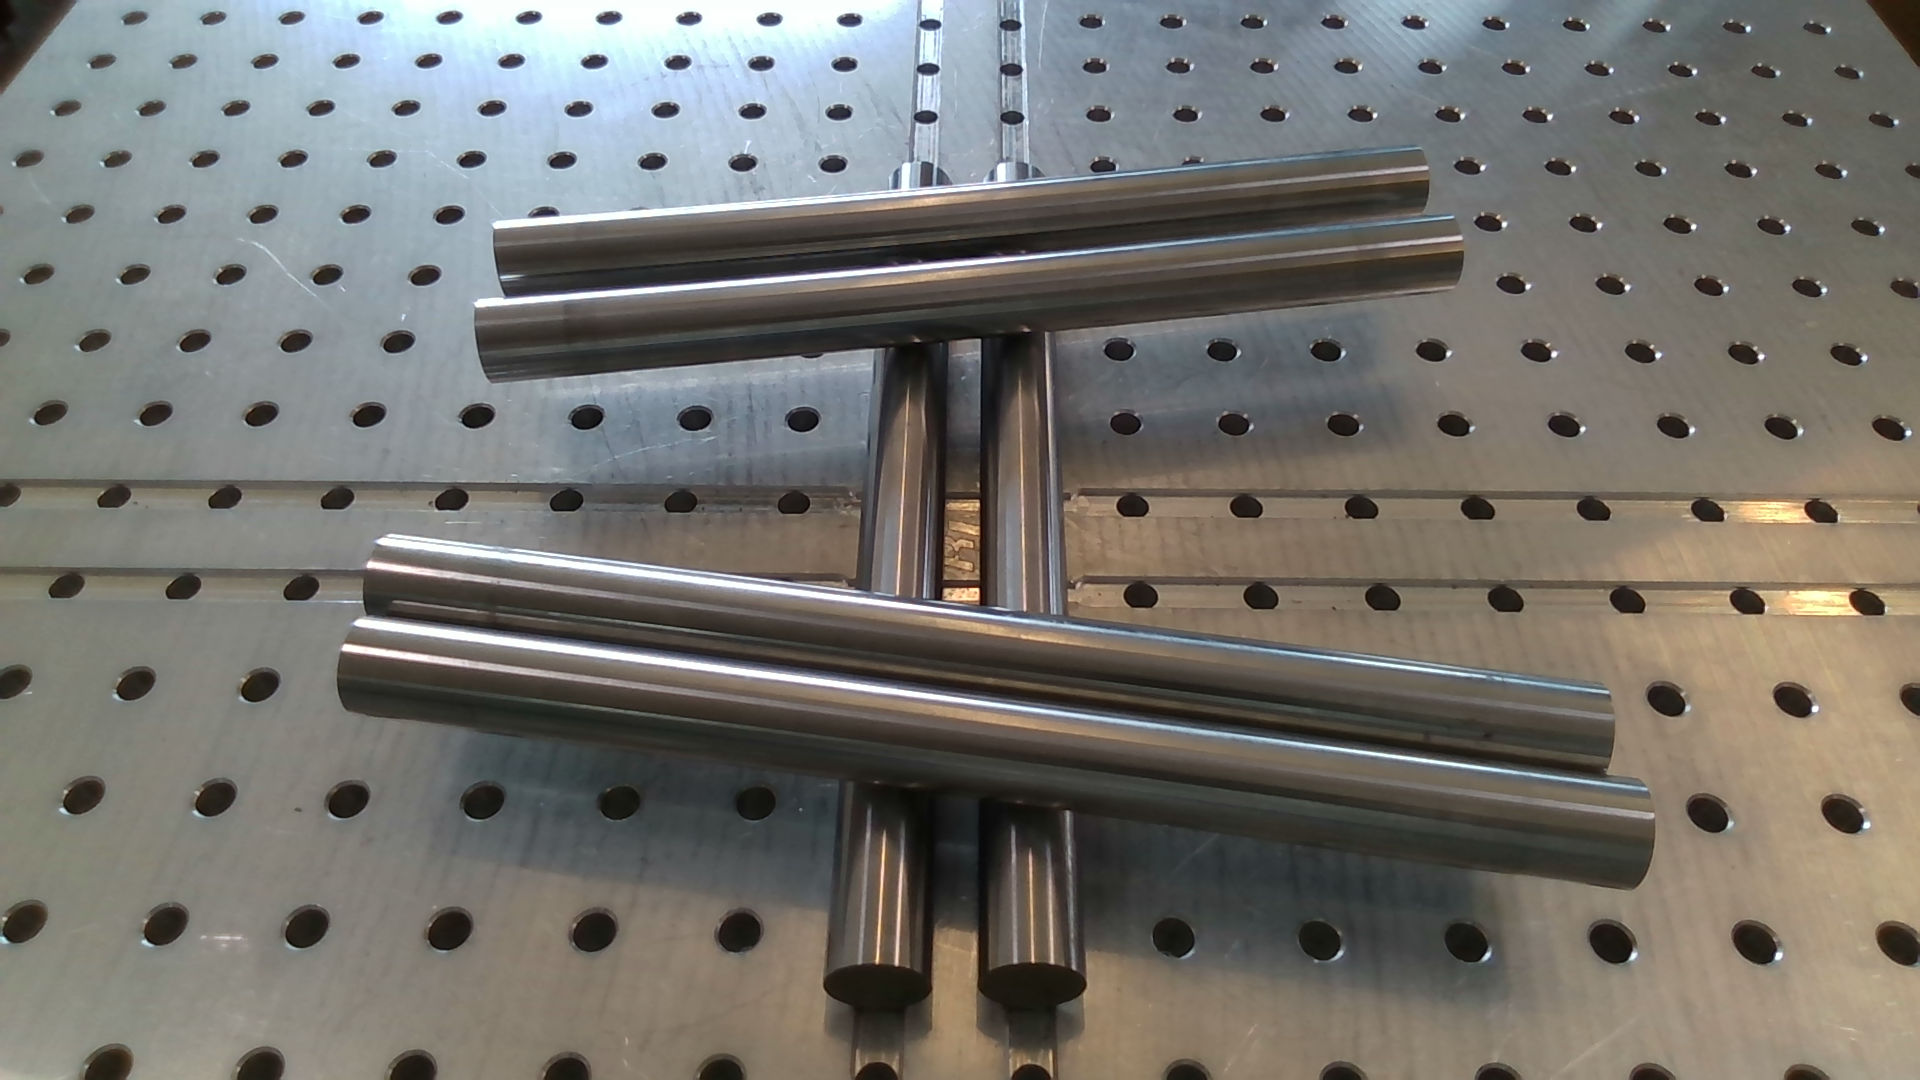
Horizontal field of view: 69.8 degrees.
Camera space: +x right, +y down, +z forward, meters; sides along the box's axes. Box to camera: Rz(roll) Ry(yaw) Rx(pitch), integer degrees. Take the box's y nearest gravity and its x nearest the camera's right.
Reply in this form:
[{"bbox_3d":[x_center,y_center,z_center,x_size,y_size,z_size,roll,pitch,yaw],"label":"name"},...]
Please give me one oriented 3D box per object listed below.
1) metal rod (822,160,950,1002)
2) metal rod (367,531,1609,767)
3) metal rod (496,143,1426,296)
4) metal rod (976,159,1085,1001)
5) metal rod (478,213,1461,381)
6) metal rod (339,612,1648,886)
[{"bbox_3d":[-0.017,-0.014,0.410,0.025,0.025,0.299,1,50,1],"label":"metal rod"},{"bbox_3d":[0.001,0.028,0.342,0.300,0.025,0.025,7,50,6],"label":"metal rod"},{"bbox_3d":[0.004,-0.105,0.453,0.300,0.025,0.025,-6,50,-5],"label":"metal rod"},{"bbox_3d":[0.018,-0.014,0.410,0.025,0.025,0.299,1,50,1],"label":"metal rod"},{"bbox_3d":[0.007,-0.076,0.429,0.300,0.025,0.025,-6,50,-5],"label":"metal rod"},{"bbox_3d":[0.002,0.048,0.325,0.300,0.025,0.025,7,50,6],"label":"metal rod"}]
